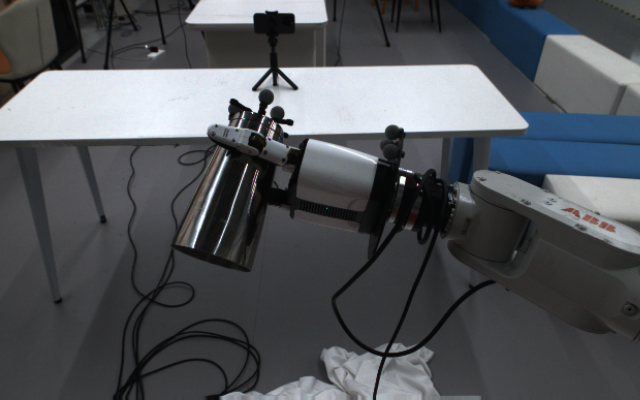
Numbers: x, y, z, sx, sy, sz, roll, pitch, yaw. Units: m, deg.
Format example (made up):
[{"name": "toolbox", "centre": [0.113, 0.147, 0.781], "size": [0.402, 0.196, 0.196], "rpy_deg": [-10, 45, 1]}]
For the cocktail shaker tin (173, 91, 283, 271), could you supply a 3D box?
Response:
[{"name": "cocktail shaker tin", "centre": [-0.096, -0.014, 0.560], "size": [0.093, 0.093, 0.170], "rpy_deg": [12, 72, 14]}]
